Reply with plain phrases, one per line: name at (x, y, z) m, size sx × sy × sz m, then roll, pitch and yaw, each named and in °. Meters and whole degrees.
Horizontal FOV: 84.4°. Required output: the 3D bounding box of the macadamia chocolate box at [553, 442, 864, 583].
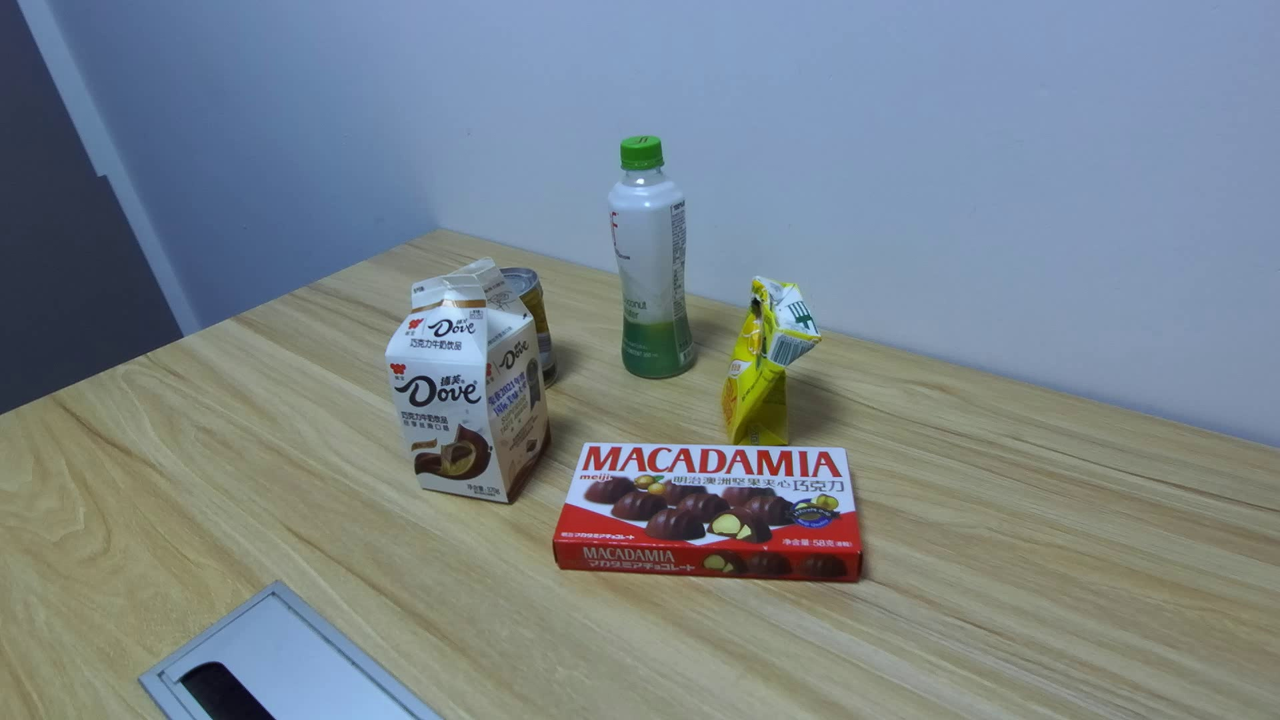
macadamia chocolate box at (0.043, 0.091, 0.441) m, size 0.177 × 0.027 × 0.095 m, roll 0°, pitch 32°, yaw 10°

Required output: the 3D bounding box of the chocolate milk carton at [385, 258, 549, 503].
chocolate milk carton at (-0.115, 0.010, 0.476) m, size 0.076 × 0.156 × 0.074 m, roll 6°, pitch 33°, yaw 18°

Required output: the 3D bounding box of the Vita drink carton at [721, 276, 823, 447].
Vita drink carton at (0.093, 0.005, 0.498) m, size 0.042 × 0.108 × 0.087 m, roll 7°, pitch 33°, yaw -4°

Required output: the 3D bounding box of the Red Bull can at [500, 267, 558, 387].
Red Bull can at (-0.107, -0.024, 0.589) m, size 0.072 × 0.092 × 0.072 m, roll -3°, pitch 31°, yaw 2°

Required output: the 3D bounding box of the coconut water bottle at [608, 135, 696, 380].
coconut water bottle at (0.009, -0.079, 0.564) m, size 0.063 × 0.189 × 0.063 m, roll -4°, pitch 29°, yaw 3°
